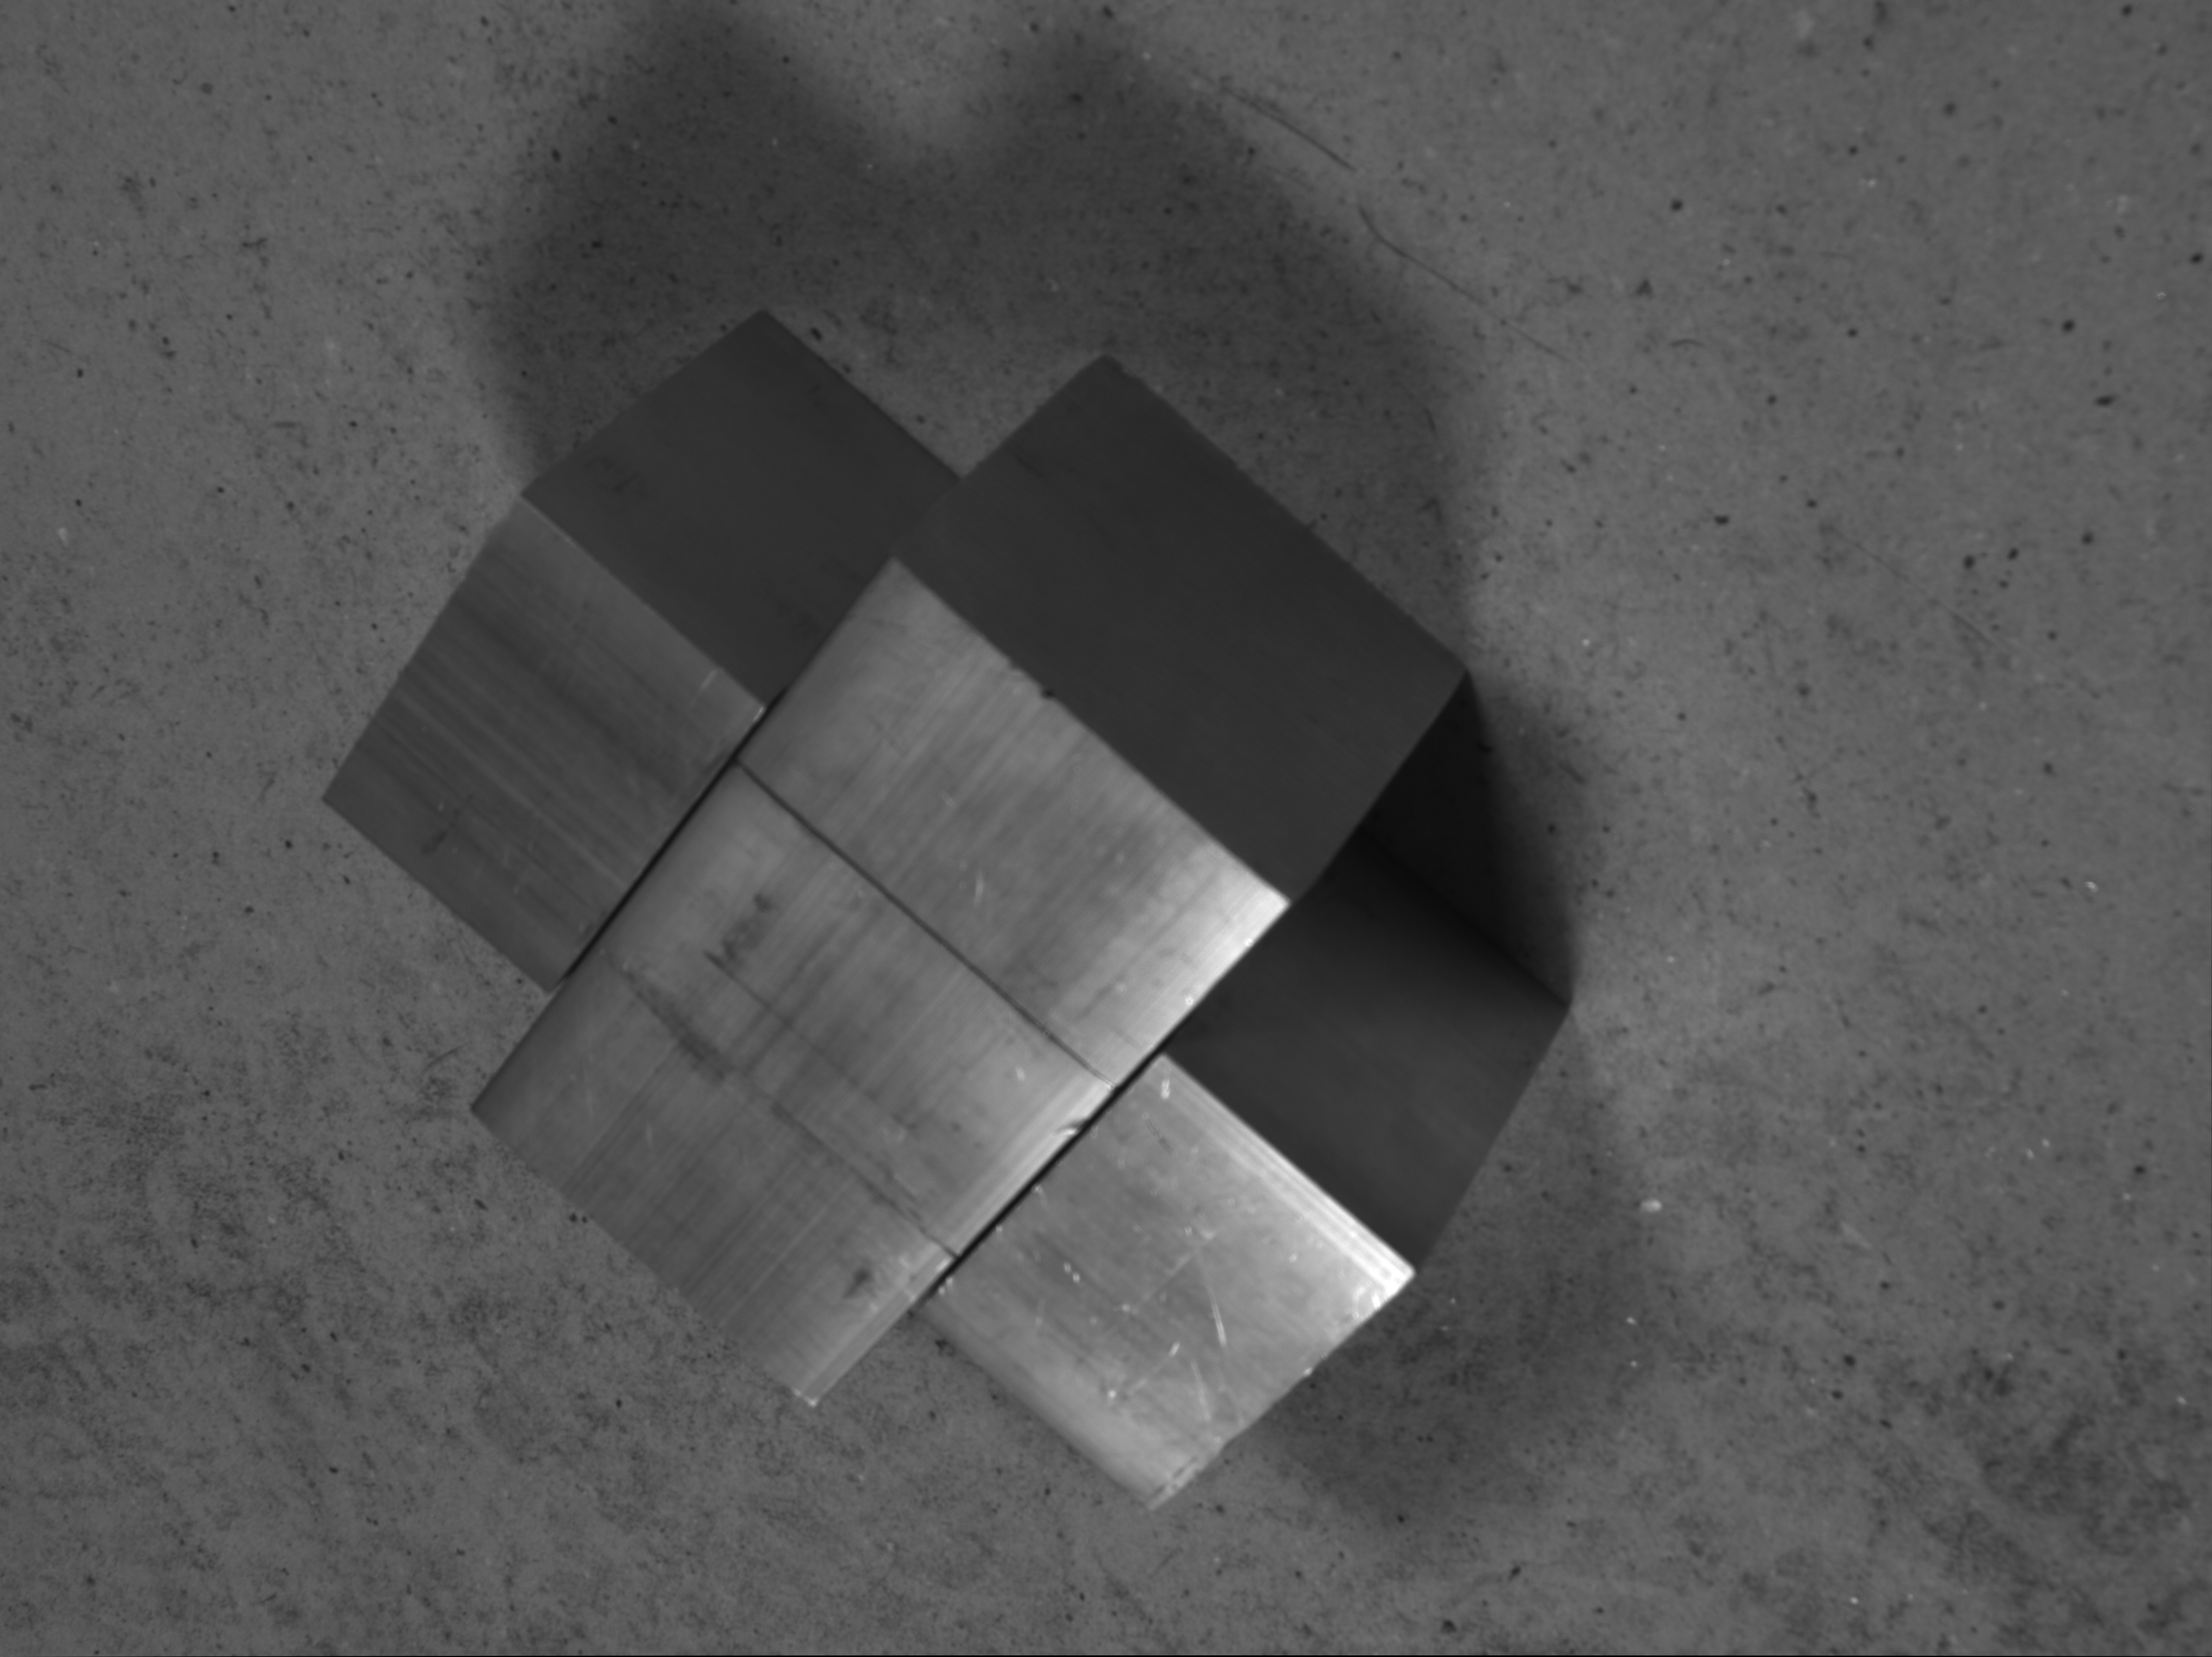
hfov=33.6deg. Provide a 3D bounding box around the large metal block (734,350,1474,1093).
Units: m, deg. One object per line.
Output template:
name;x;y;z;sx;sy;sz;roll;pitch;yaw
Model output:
large metal block;0.001;-0.019;0.585;0.080;0.080;0.050;41;128;-1

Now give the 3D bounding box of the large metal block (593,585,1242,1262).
large metal block;-0.025;0.011;0.616;0.080;0.080;0.050;41;128;-1

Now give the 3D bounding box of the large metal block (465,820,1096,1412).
large metal block;-0.051;0.041;0.647;0.080;0.080;0.050;41;128;-1

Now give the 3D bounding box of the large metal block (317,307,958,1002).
large metal block;-0.076;-0.030;0.617;0.050;0.080;0.080;41;128;-1

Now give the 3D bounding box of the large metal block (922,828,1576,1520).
large metal block;0.025;0.057;0.619;0.050;0.080;0.080;41;128;-1
